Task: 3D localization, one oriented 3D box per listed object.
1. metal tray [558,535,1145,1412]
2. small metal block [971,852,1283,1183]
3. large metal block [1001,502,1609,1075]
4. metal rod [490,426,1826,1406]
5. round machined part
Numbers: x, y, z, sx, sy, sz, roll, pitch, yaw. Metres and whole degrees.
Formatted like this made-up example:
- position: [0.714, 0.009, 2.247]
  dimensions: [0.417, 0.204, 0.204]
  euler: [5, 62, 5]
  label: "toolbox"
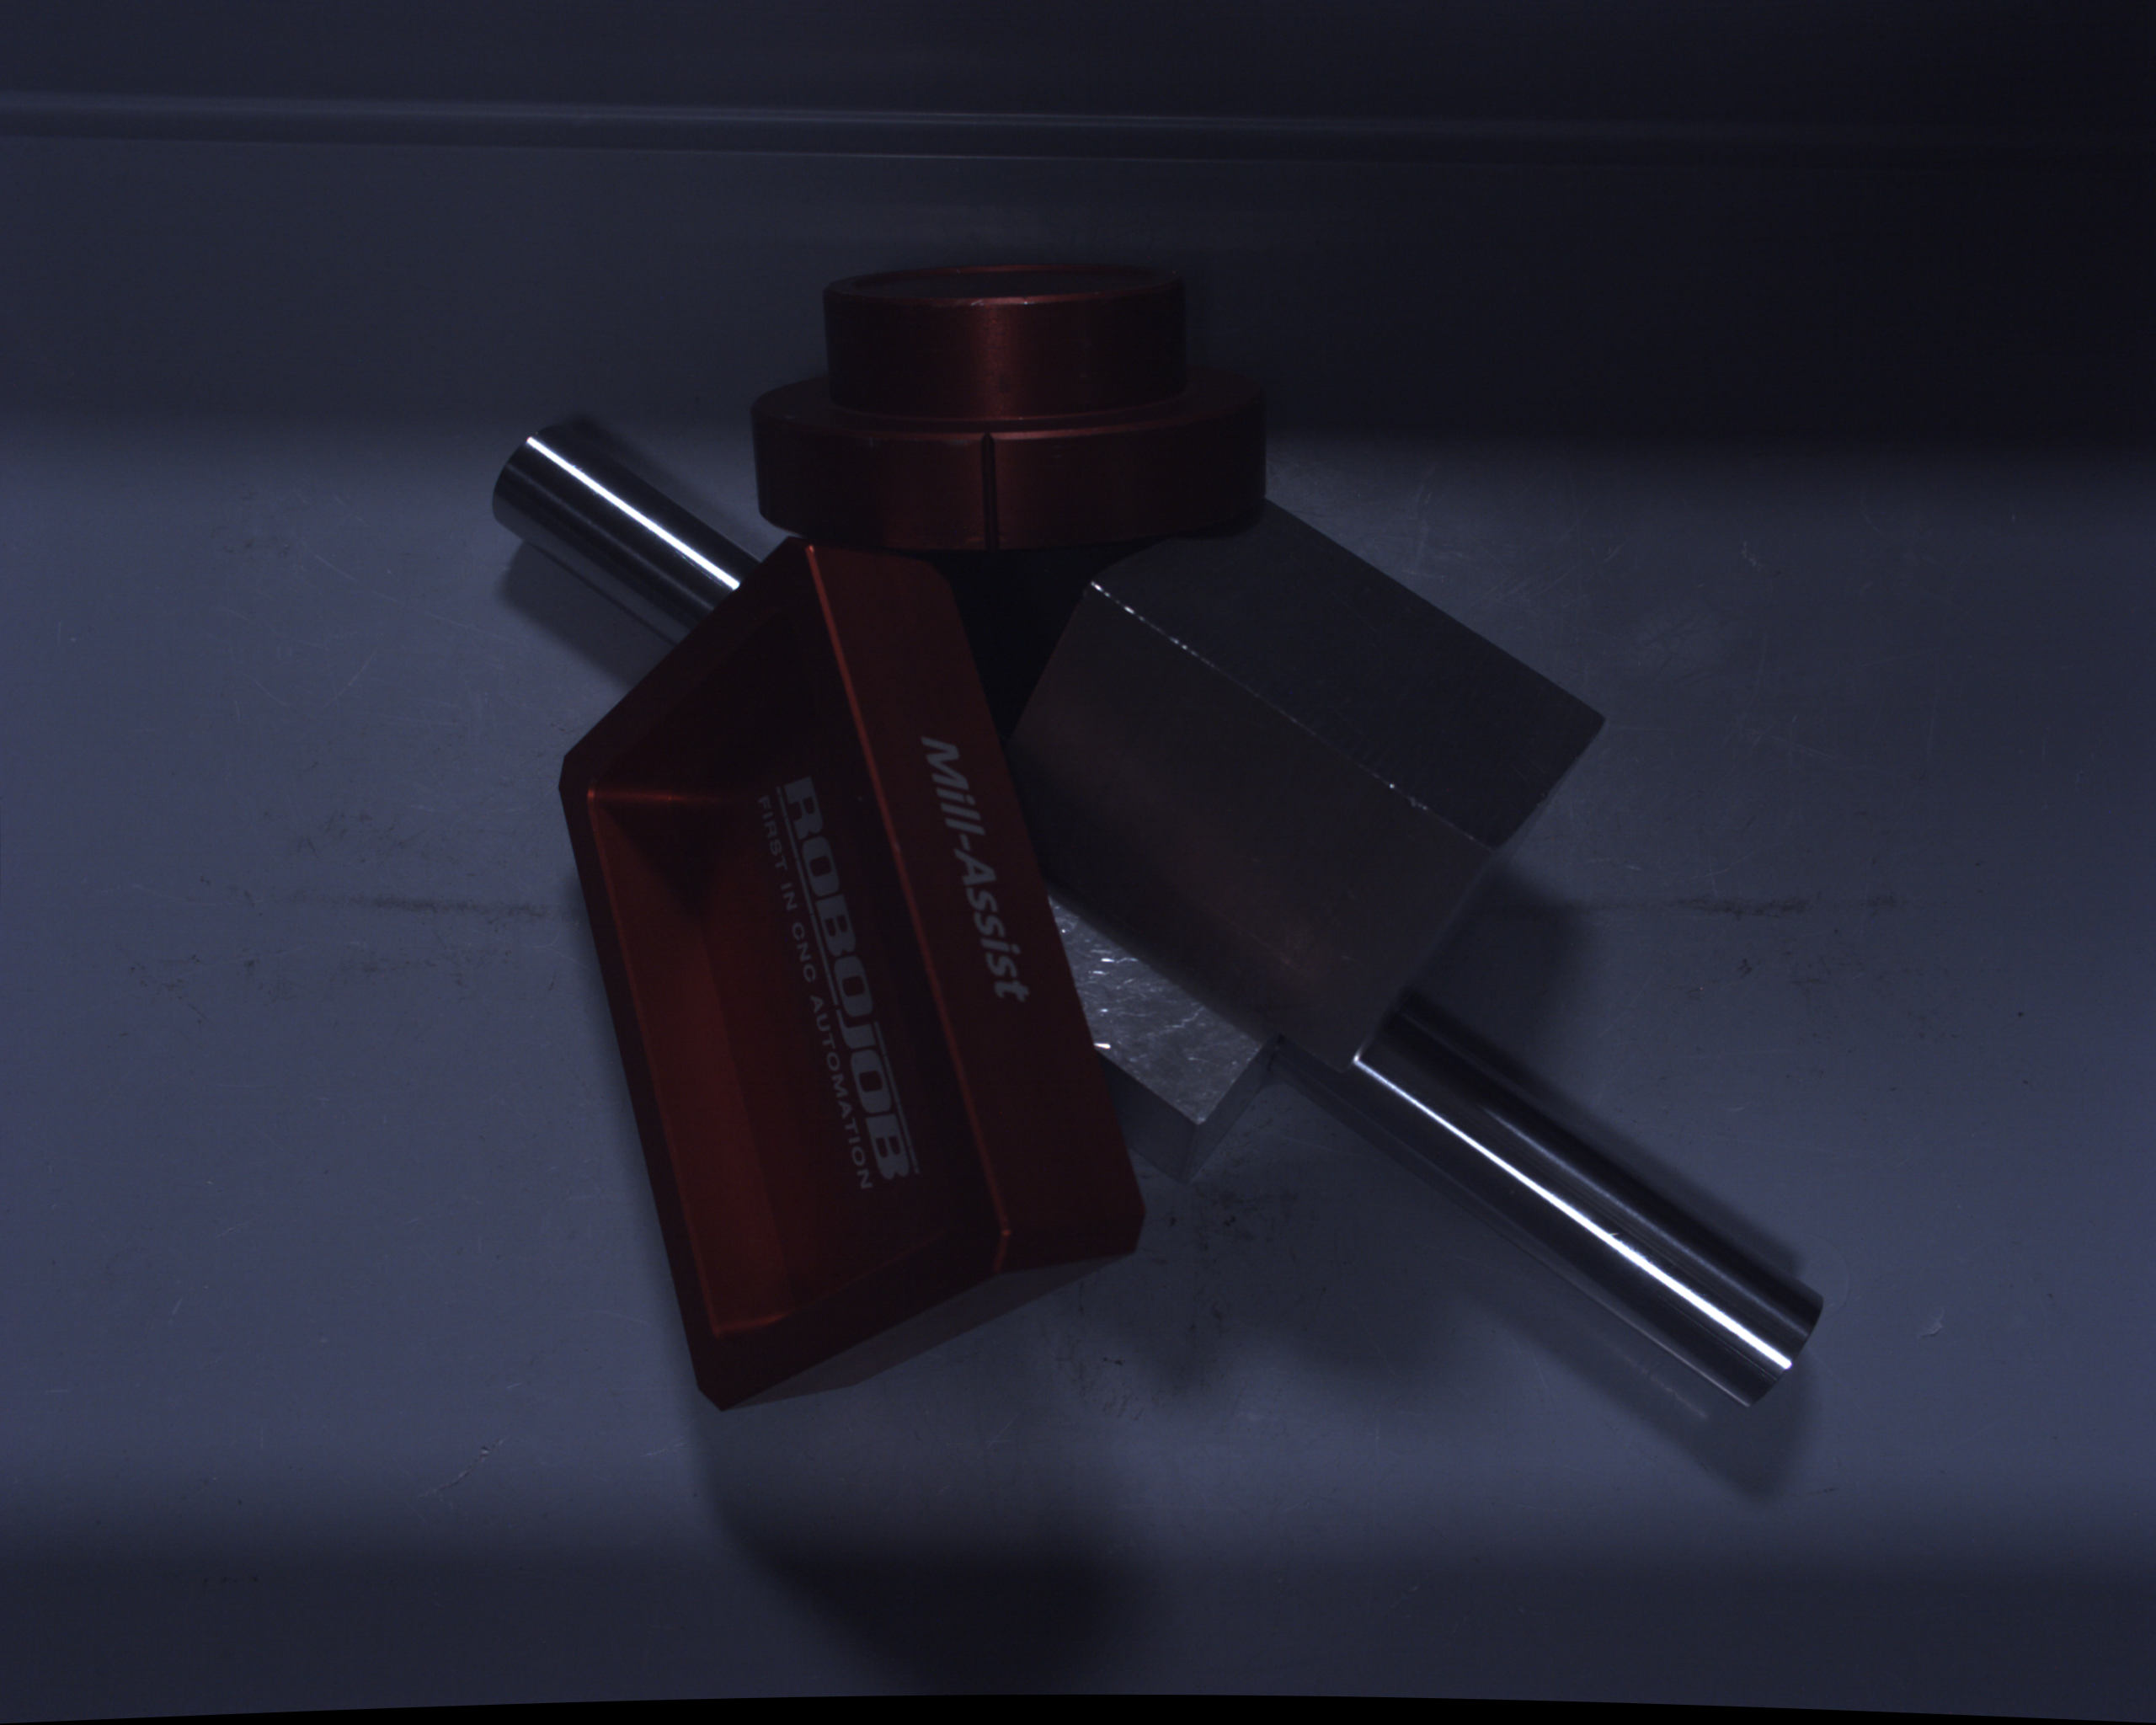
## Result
- position: [-0.045, 0.020, 0.367]
  dimensions: [0.030, 0.090, 0.130]
  euler: [2, 63, -44]
  label: "metal tray"
- position: [0.009, 0.030, 0.384]
  dimensions: [0.050, 0.050, 0.025]
  euler: [36, 74, 12]
  label: "small metal block"
- position: [0.040, -0.018, 0.381]
  dimensions: [0.080, 0.050, 0.080]
  euler: [35, 31, 12]
  label: "large metal block"
- position: [0.007, 0.004, 0.407]
  dimensions: [0.300, 0.025, 0.025]
  euler: [35, 74, 11]
  label: "metal rod"
- position: [-0.013, -0.091, 0.400]
  dimensions: [0.099, 0.098, 0.042]
  euler: [-2, 111, -1]
  label: "round machined part"
